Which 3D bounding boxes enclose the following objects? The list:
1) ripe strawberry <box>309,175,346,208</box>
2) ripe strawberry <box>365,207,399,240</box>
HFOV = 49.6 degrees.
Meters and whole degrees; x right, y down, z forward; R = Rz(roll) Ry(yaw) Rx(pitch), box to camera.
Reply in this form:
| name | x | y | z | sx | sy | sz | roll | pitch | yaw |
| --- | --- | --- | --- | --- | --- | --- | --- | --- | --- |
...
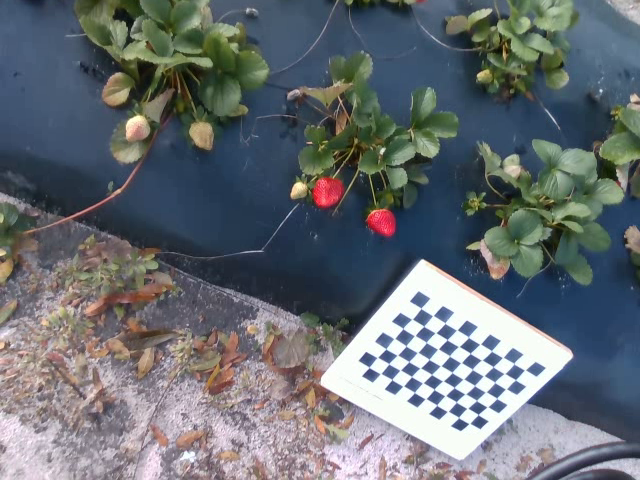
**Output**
| name | x | y | z | sx | sy | sz | roll | pitch | yaw |
| --- | --- | --- | --- | --- | --- | --- | --- | --- | --- |
| ripe strawberry | 0.012 | -0.047 | 0.715 | 0.035 | 0.036 | 0.041 | 19 | -40 | -3 |
| ripe strawberry | 0.071 | -0.015 | 0.732 | 0.033 | 0.039 | 0.037 | 31 | -54 | -34 |
